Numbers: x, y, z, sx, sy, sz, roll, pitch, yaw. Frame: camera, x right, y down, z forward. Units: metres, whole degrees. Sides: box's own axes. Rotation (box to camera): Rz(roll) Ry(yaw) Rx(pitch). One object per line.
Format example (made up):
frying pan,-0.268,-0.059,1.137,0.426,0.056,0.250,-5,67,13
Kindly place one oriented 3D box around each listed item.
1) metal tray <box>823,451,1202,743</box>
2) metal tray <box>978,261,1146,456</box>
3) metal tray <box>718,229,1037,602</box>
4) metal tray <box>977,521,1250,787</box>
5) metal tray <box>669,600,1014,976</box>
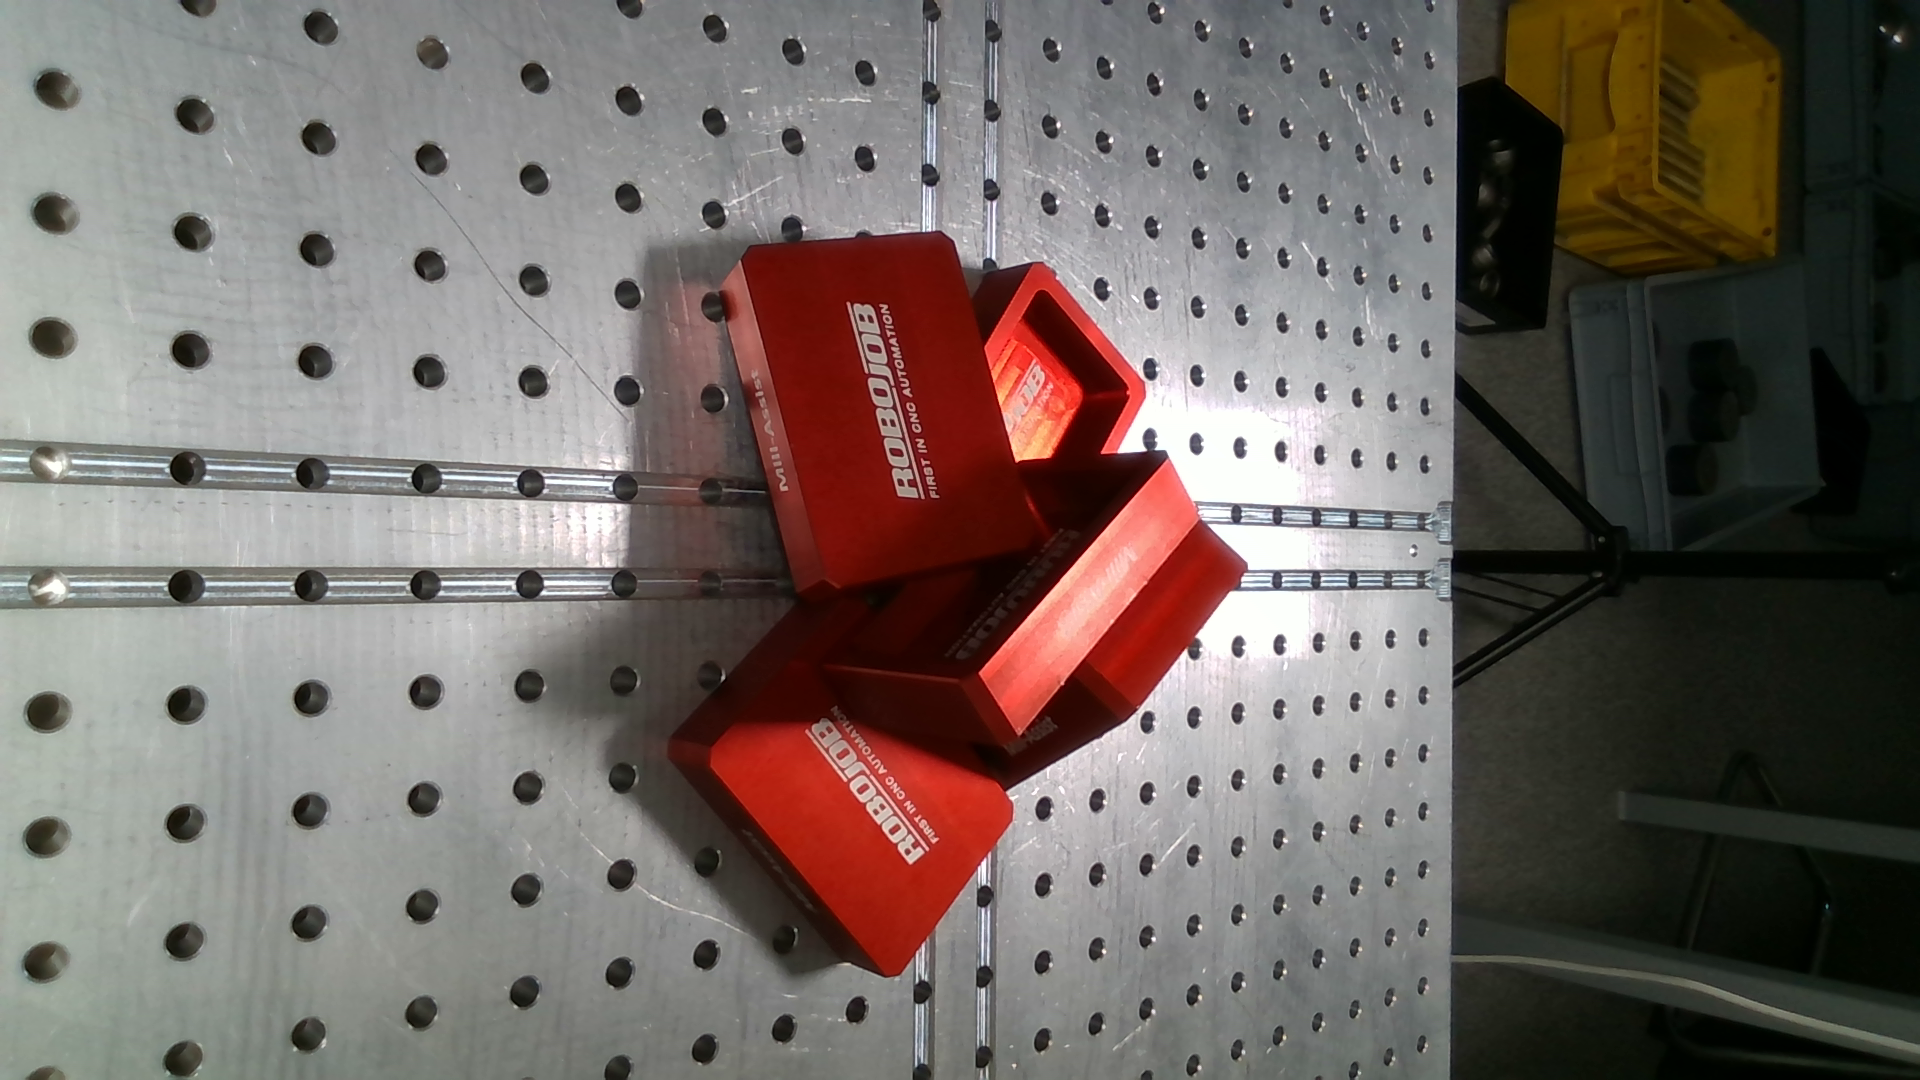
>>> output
metal tray,0.020,0.017,0.521,0.130,0.090,0.030,-46,117,-30
metal tray,0.022,-0.044,0.601,0.090,0.030,0.130,43,64,-32
metal tray,-0.031,-0.049,0.525,0.090,0.030,0.130,-12,83,-29
metal tray,0.055,0.049,0.565,0.030,0.130,0.090,43,60,1
metal tray,-0.042,0.096,0.546,0.090,0.030,0.130,-49,119,-29
